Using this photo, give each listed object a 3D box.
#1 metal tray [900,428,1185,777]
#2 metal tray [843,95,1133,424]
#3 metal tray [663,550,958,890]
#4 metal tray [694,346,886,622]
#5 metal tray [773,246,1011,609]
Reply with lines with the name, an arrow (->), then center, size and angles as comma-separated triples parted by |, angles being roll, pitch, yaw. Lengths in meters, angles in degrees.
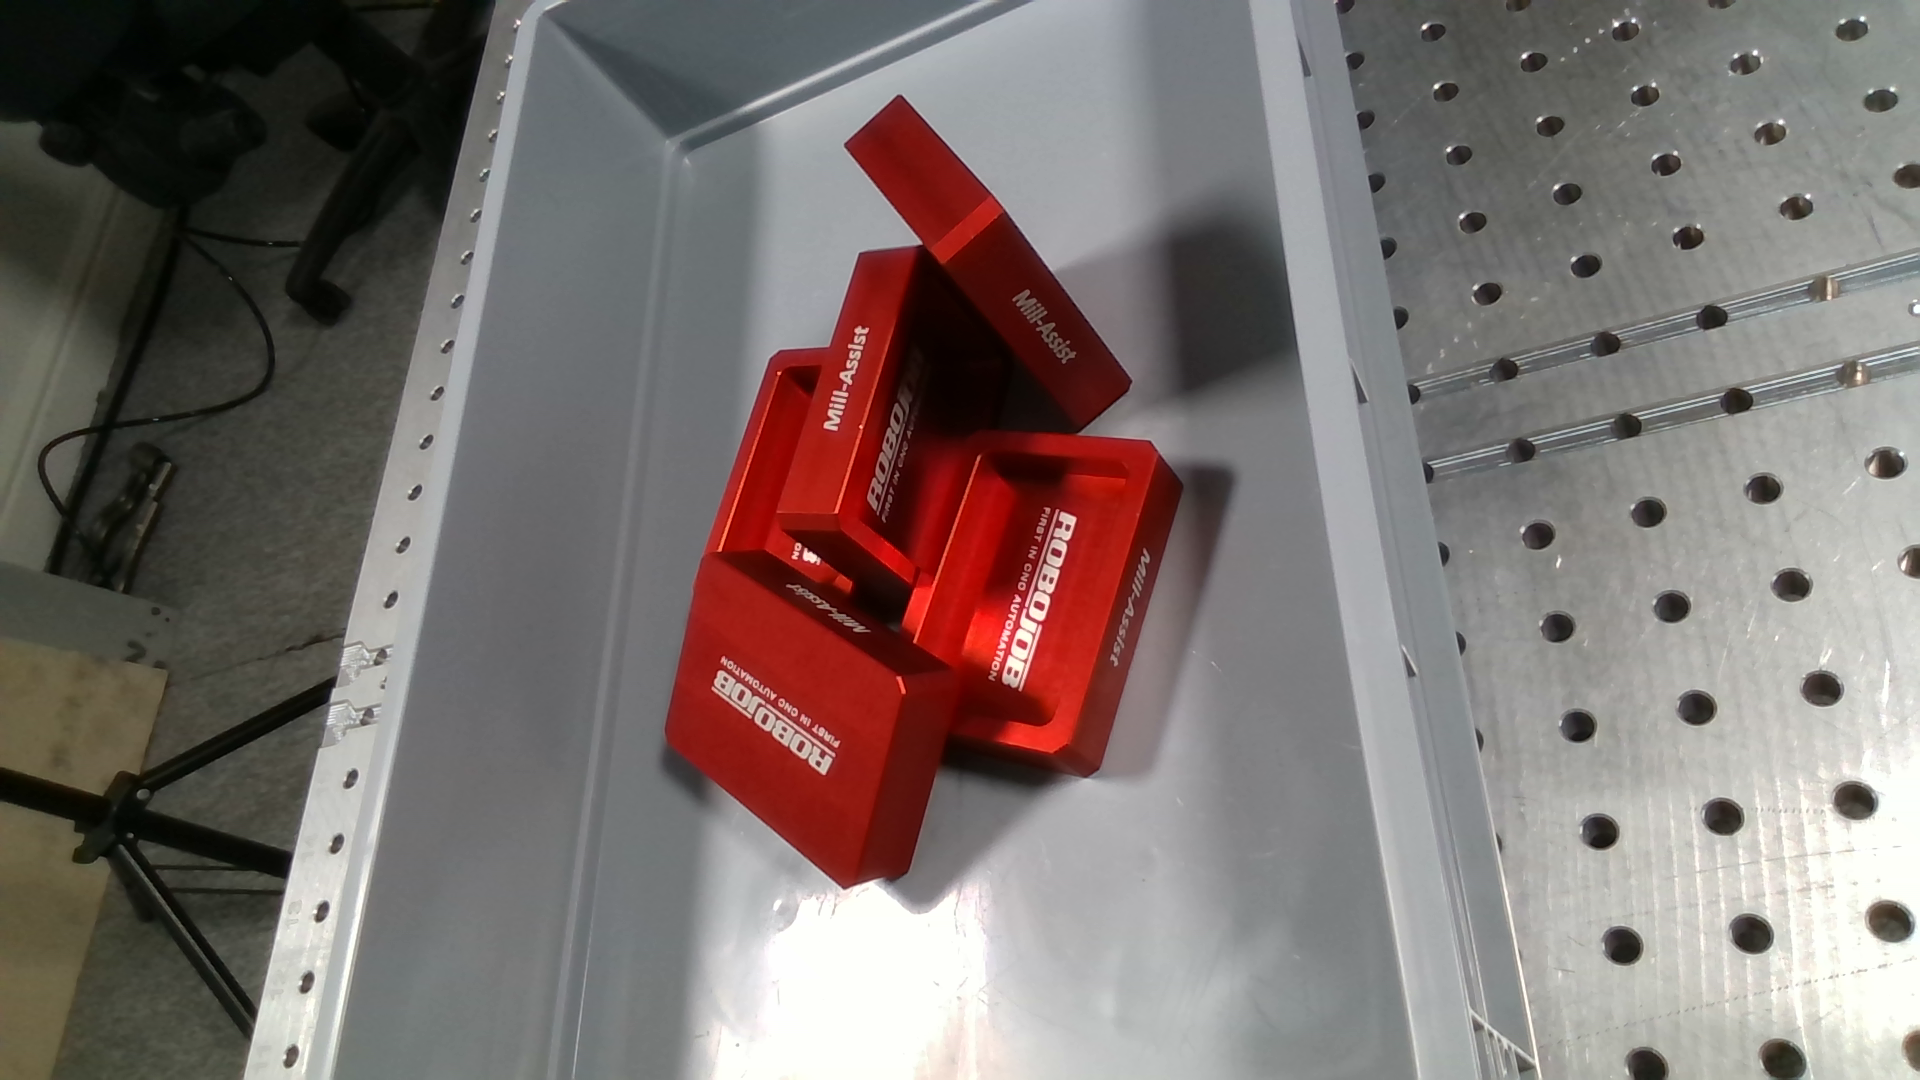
metal tray -> 0.028, 0.021, 0.552 | 0.090, 0.030, 0.130 | 7, 70, 34
metal tray -> 0.014, -0.112, 0.566 | 0.030, 0.130, 0.090 | -40, 51, 7
metal tray -> -0.065, 0.069, 0.559 | 0.130, 0.030, 0.090 | 28, 111, 39
metal tray -> -0.063, -0.027, 0.632 | 0.090, 0.030, 0.130 | 2, 67, 32
metal tray -> -0.025, -0.046, 0.580 | 0.030, 0.090, 0.130 | 2, 67, 32
